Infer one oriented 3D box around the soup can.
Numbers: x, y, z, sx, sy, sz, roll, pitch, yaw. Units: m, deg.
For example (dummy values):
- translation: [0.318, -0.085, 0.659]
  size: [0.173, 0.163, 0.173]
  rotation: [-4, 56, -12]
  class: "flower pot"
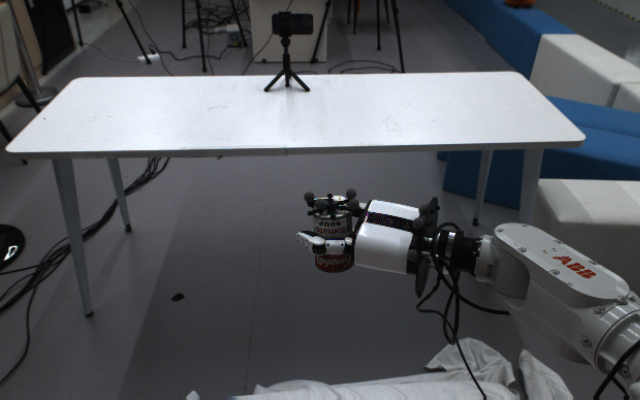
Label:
- translation: [0.023, 0.059, 0.799]
  size: [0.067, 0.101, 0.067]
  rotation: [-4, 26, 2]
  class: "soup can"
